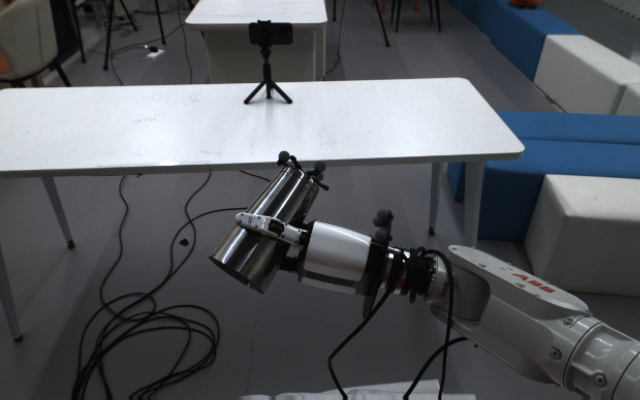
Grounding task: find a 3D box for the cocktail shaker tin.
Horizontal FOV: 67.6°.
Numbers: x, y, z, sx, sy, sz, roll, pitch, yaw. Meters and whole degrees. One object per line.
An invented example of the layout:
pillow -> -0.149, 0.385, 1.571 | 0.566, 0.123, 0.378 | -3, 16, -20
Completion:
cocktail shaker tin -> -0.074, 0.034, 0.692 | 0.093, 0.093, 0.170 | 22, 67, 26
